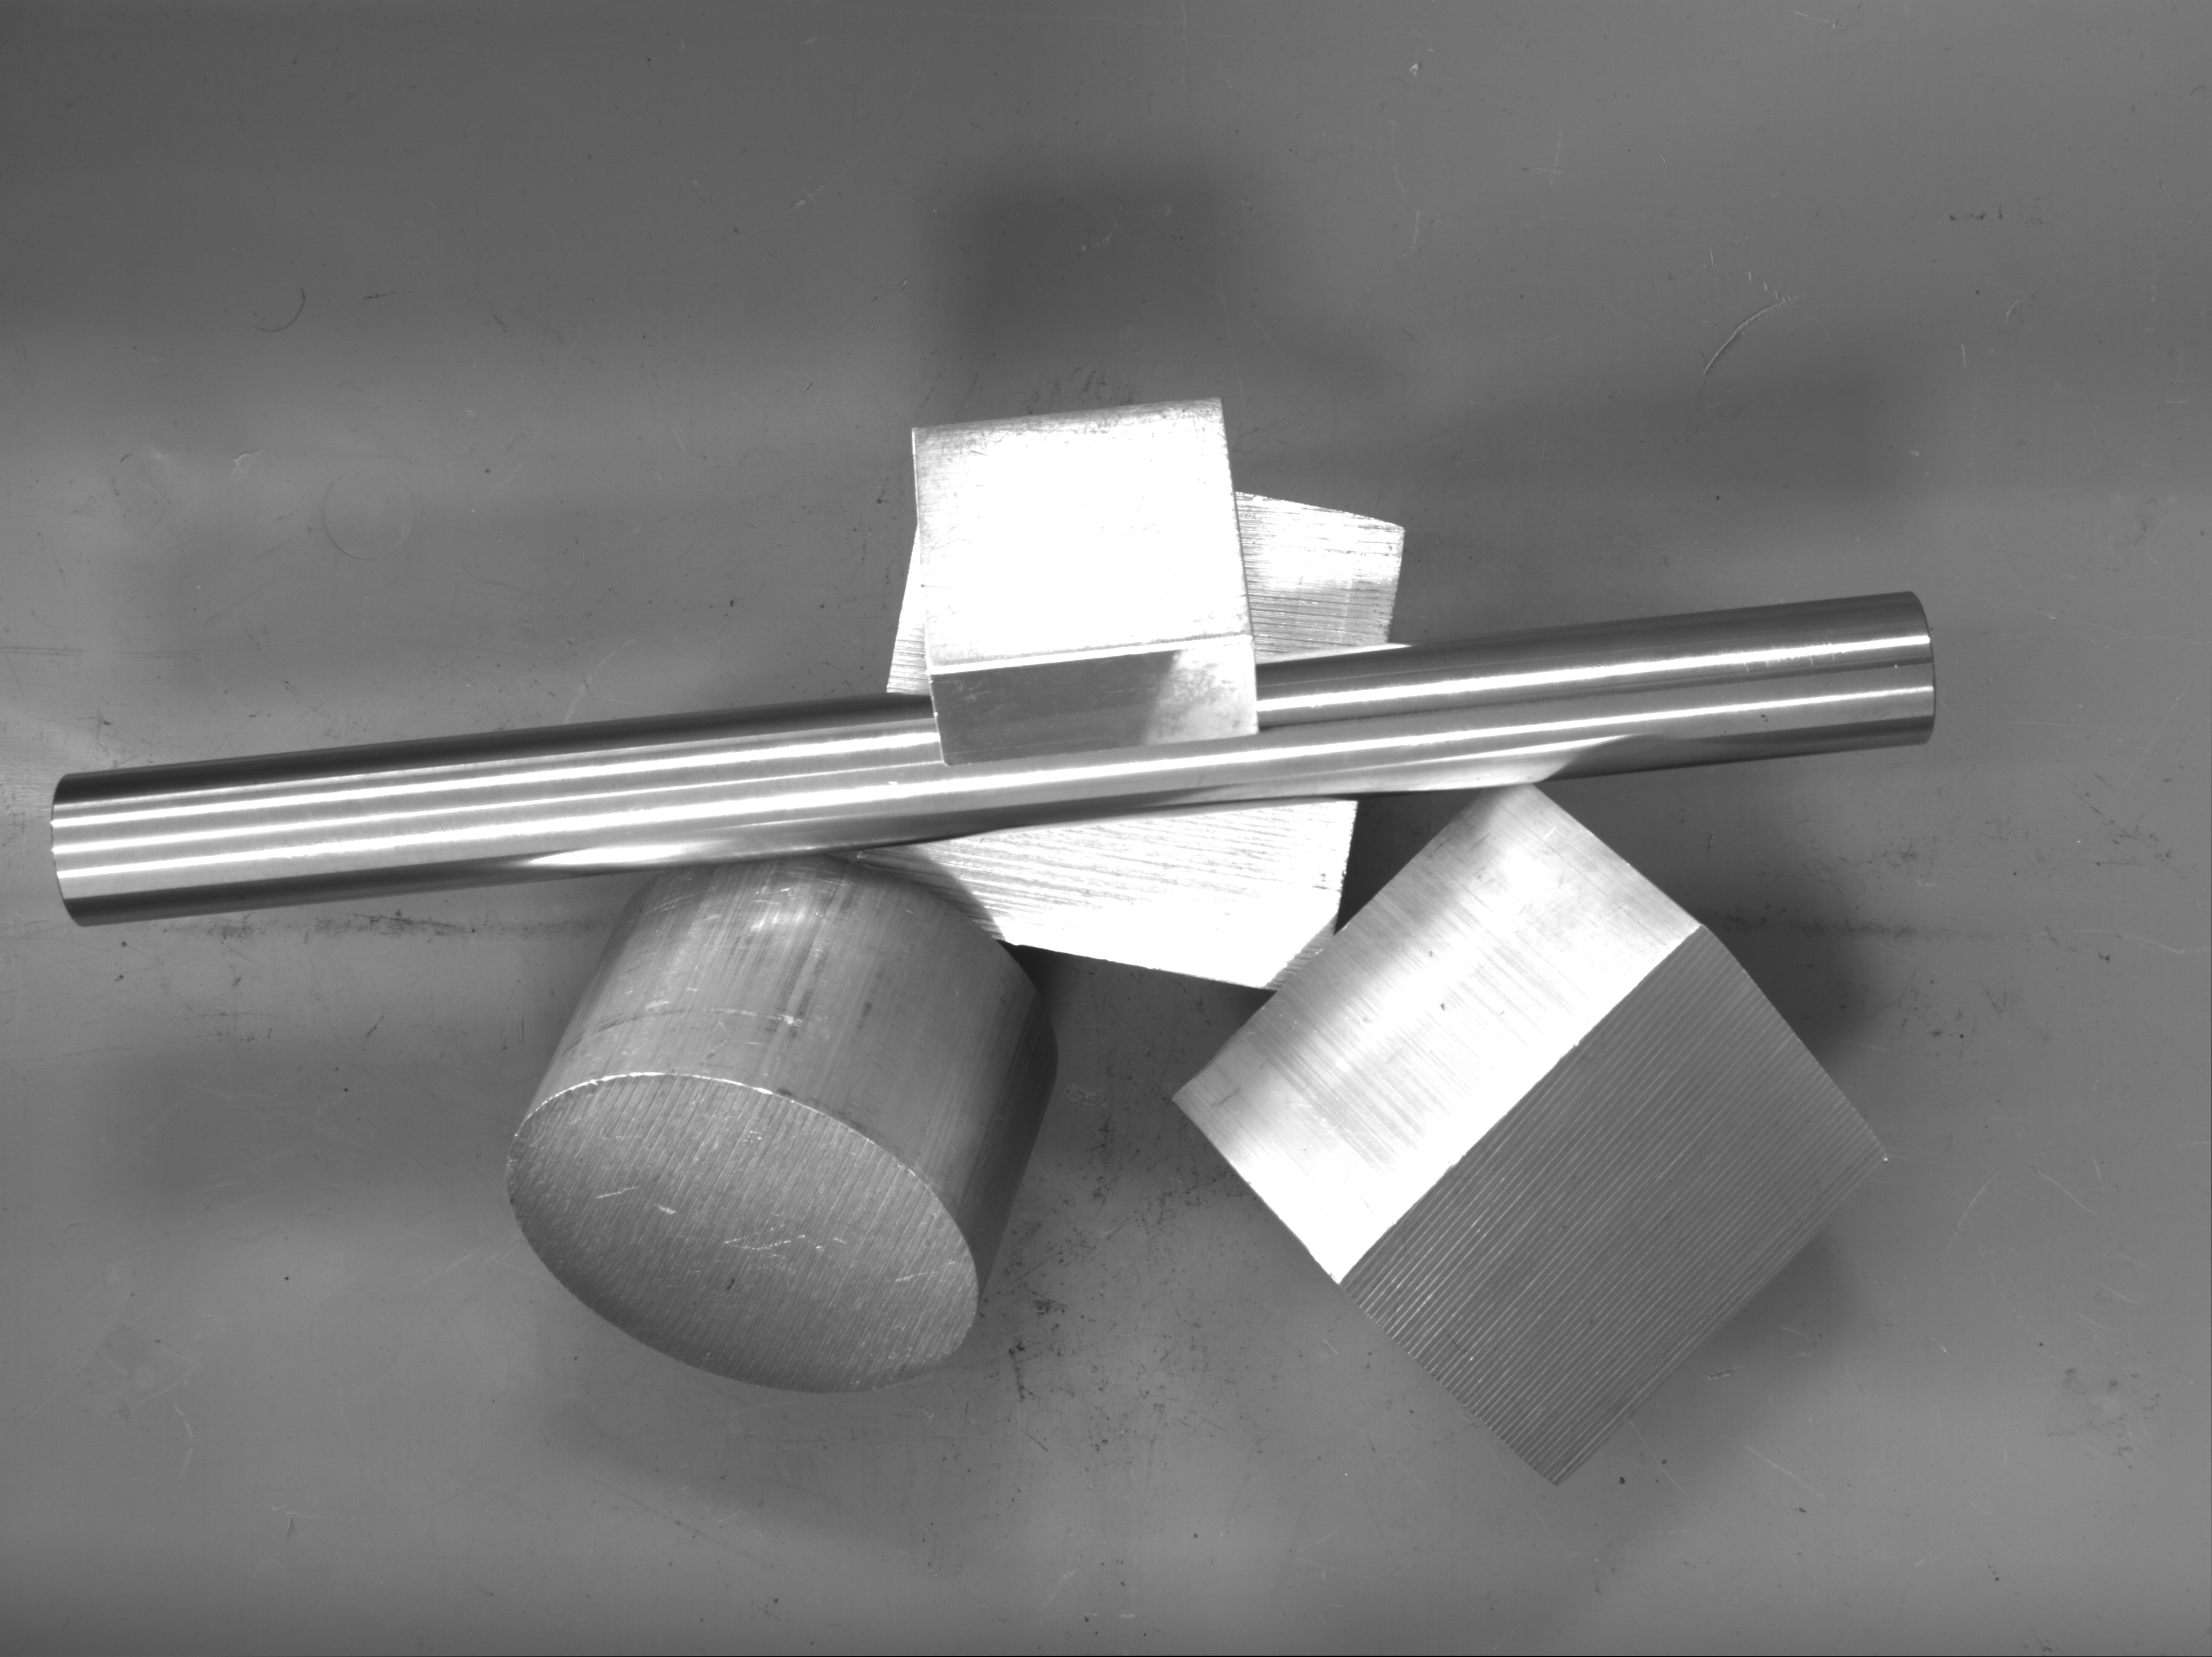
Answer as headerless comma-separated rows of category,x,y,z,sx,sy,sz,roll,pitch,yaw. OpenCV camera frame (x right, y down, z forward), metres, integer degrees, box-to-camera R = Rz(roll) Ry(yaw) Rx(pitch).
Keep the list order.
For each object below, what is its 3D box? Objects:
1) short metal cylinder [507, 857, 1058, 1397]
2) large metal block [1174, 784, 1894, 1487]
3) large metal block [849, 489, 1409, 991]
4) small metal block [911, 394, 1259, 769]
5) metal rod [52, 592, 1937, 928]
short metal cylinder,-0.053,0.050,0.611,0.080,0.080,0.050,19,47,0
large metal block,0.072,0.050,0.611,0.080,0.050,0.080,-45,134,0
large metal block,0.003,-0.019,0.632,0.080,0.050,0.080,11,90,0
small metal block,-0.004,-0.039,0.583,0.050,0.025,0.050,-6,55,0
metal rod,-0.018,-0.011,0.595,0.300,0.025,0.025,-6,90,0
